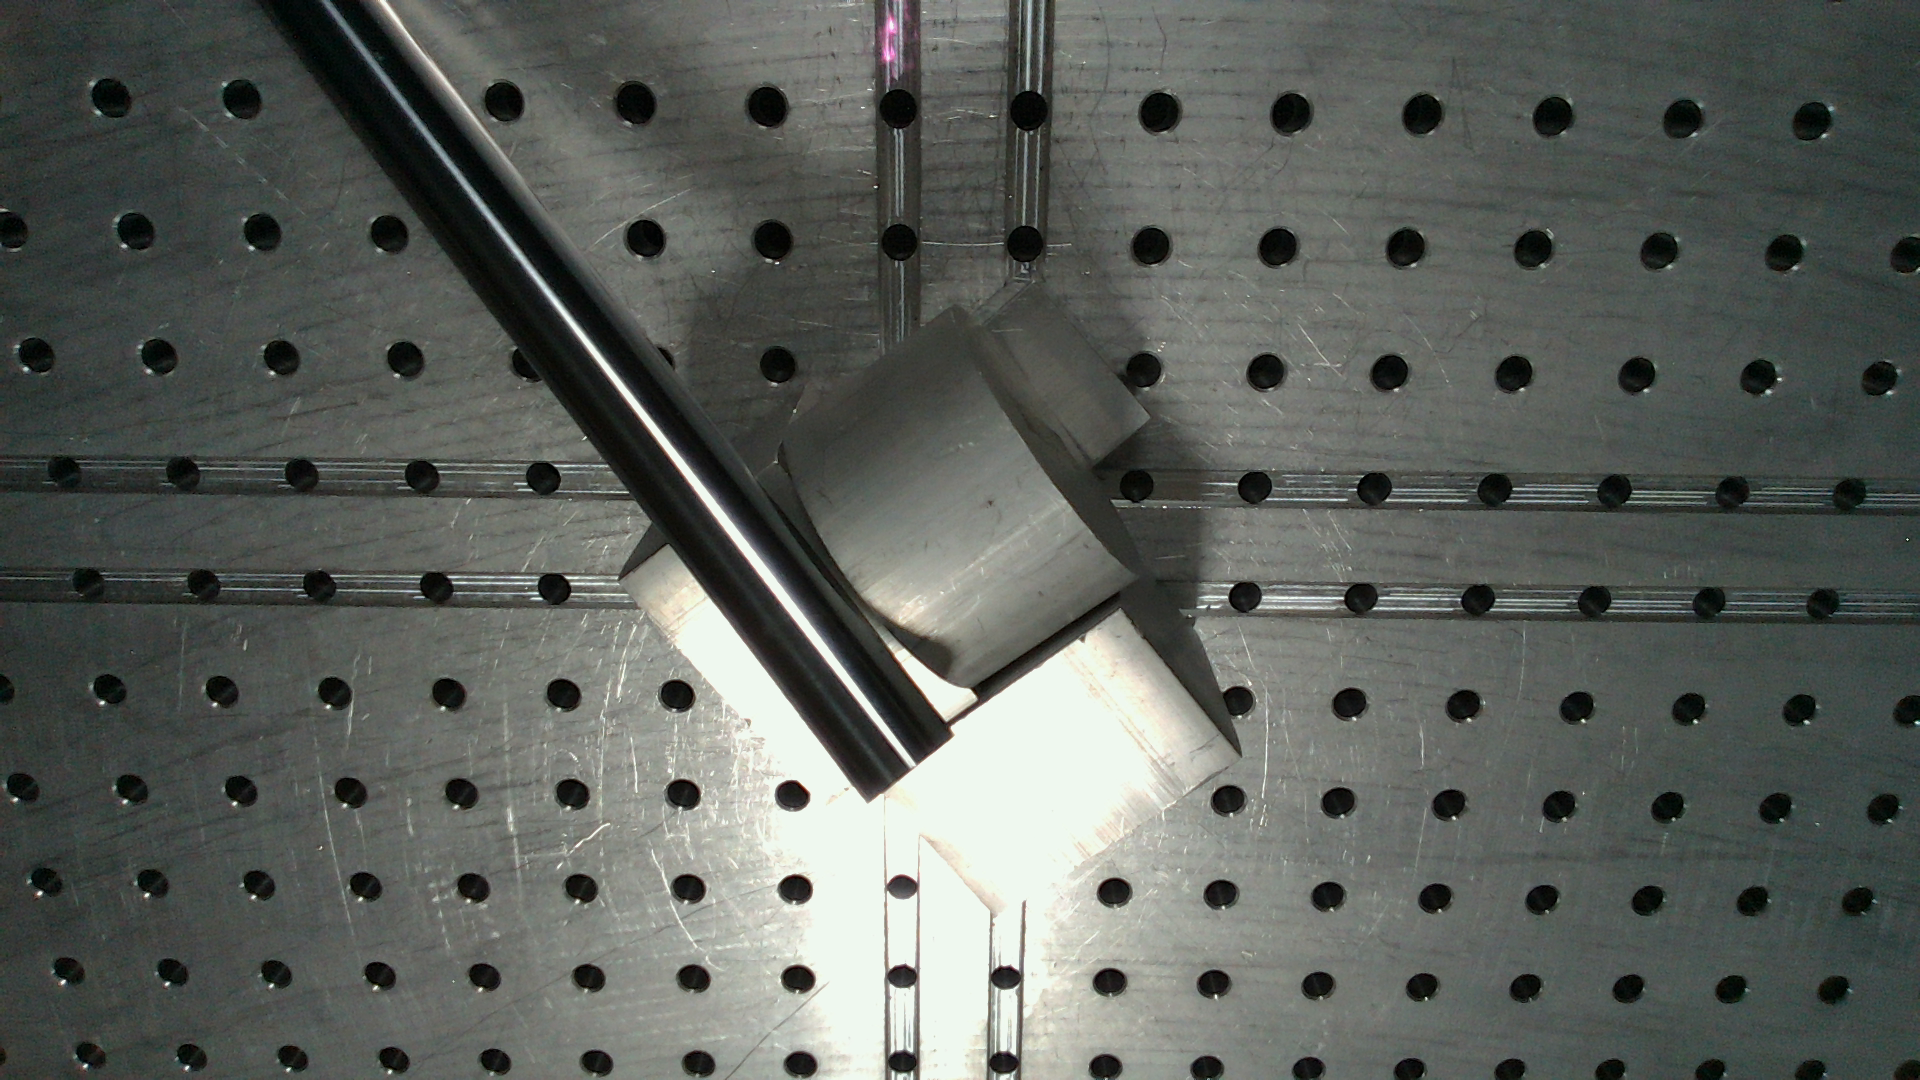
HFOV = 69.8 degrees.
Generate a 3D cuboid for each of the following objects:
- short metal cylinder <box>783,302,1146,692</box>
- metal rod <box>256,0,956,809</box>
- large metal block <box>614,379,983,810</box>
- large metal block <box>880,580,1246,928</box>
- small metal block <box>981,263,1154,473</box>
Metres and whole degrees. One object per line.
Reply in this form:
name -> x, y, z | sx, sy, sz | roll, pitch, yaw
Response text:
short metal cylinder -> 0.002, -0.010, 0.336 | 0.050, 0.080, 0.080 | -35, 107, 12
metal rod -> -0.103, -0.066, 0.316 | 0.025, 0.025, 0.300 | -39, 84, 13
large metal block -> -0.038, 0.011, 0.372 | 0.050, 0.080, 0.080 | -36, 106, 12
large metal block -> 0.025, 0.046, 0.382 | 0.080, 0.080, 0.050 | -36, 106, 12
small metal block -> 0.017, -0.040, 0.382 | 0.050, 0.025, 0.050 | -40, 106, 13
